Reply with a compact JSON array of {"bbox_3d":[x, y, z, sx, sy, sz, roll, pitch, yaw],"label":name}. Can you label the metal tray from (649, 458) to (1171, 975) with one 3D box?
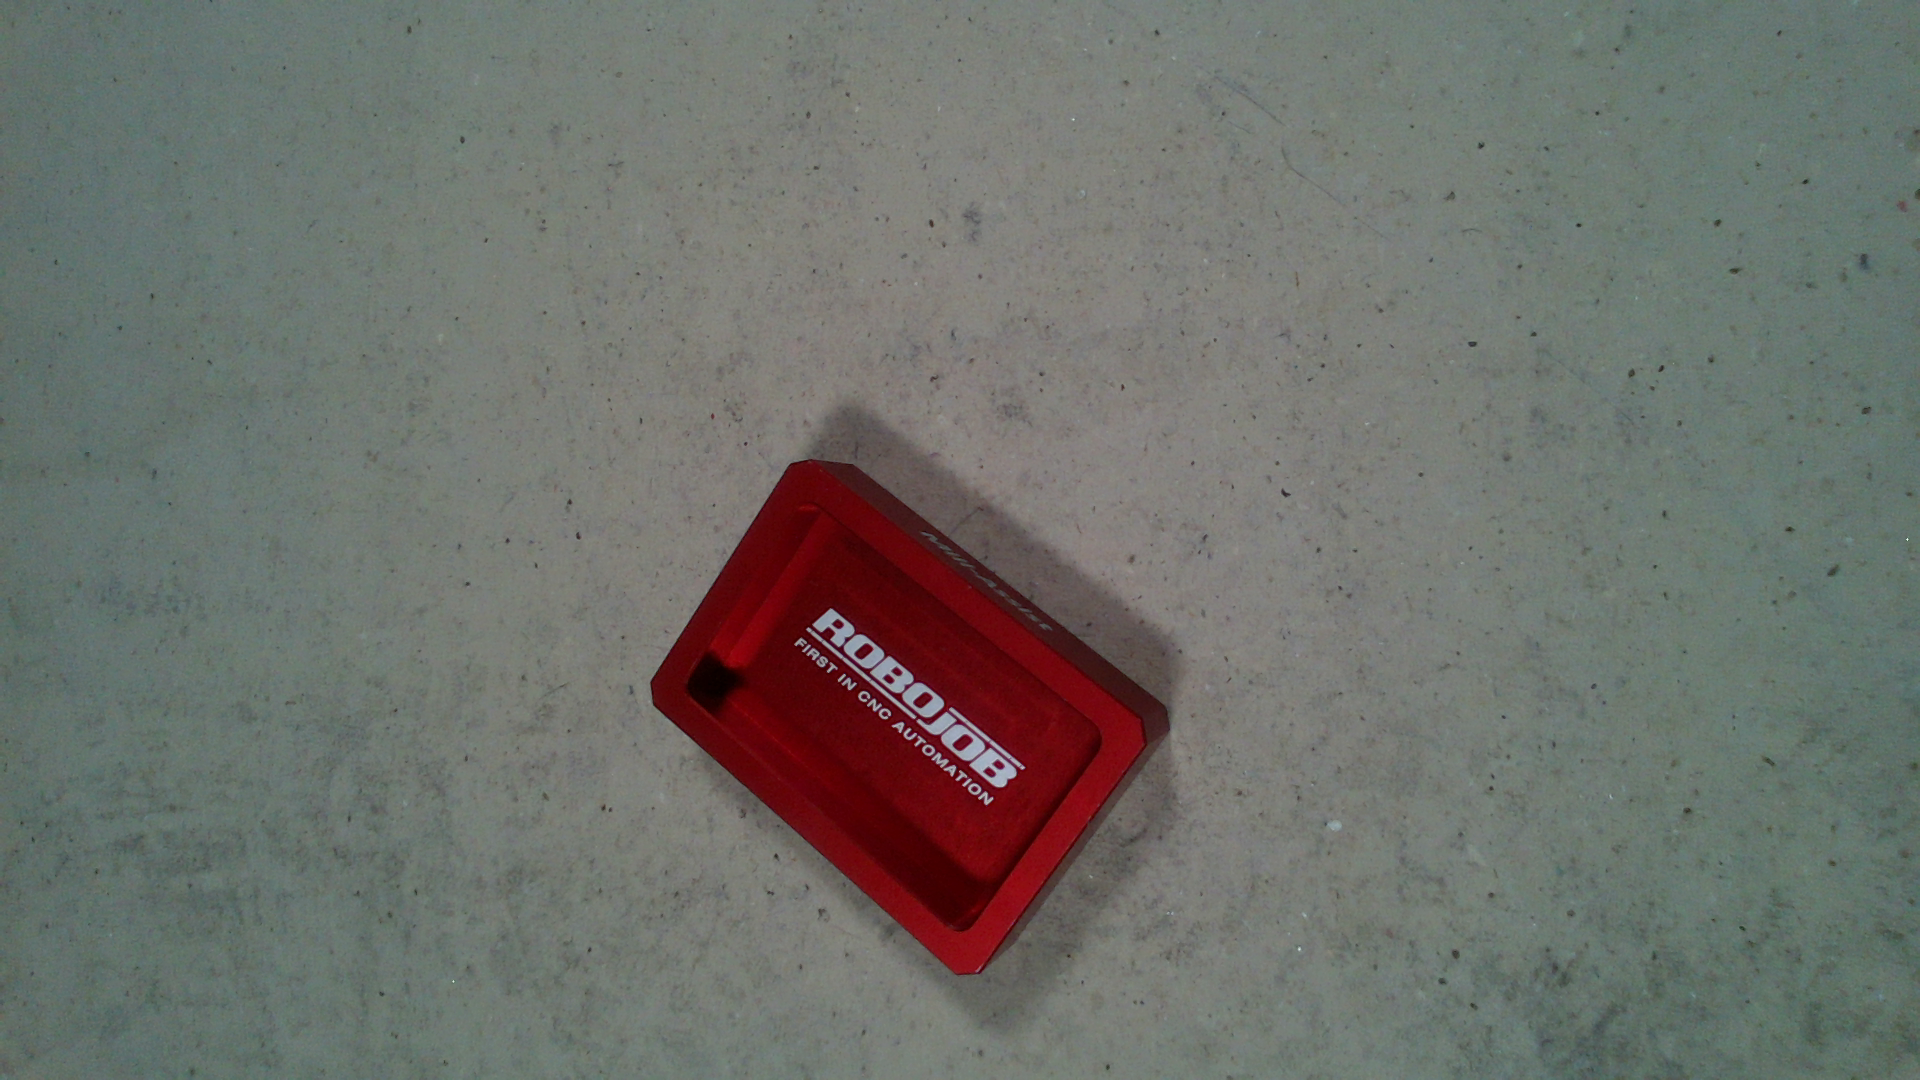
[{"bbox_3d":[-0.017,0.048,0.399,0.130,0.030,0.090,38,102,16],"label":"metal tray"}]
